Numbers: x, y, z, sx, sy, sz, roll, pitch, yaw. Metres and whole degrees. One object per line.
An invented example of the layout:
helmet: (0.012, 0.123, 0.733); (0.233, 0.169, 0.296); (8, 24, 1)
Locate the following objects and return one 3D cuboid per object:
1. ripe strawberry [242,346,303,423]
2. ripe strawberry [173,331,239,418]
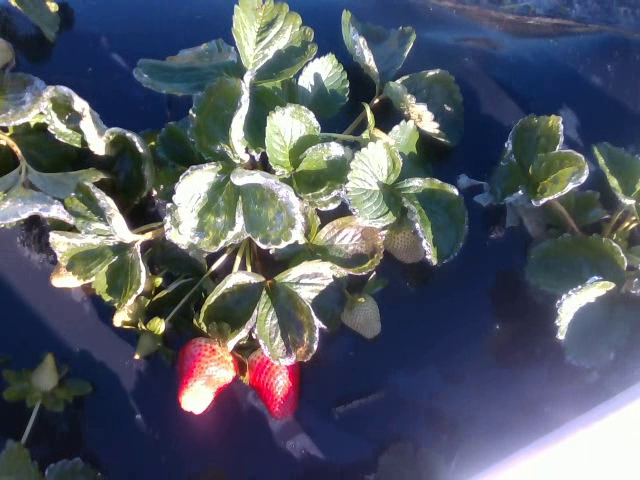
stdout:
ripe strawberry: (-0.037, 0.115, 0.498); (0.043, 0.059, 0.040); (-26, 2, -5)
ripe strawberry: (-0.091, 0.114, 0.501); (0.052, 0.070, 0.040); (21, -6, -16)
